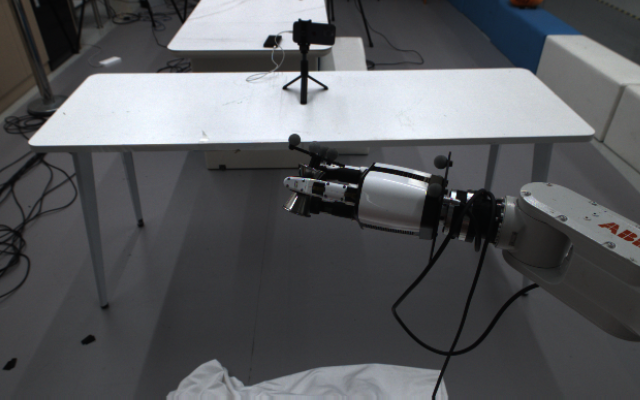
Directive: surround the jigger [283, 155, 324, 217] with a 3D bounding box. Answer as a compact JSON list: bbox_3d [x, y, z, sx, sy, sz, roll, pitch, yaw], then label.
[{"bbox_3d":[-0.023,-0.015,0.685,0.043,0.071,0.043,22,6,-2],"label":"jigger"}]
